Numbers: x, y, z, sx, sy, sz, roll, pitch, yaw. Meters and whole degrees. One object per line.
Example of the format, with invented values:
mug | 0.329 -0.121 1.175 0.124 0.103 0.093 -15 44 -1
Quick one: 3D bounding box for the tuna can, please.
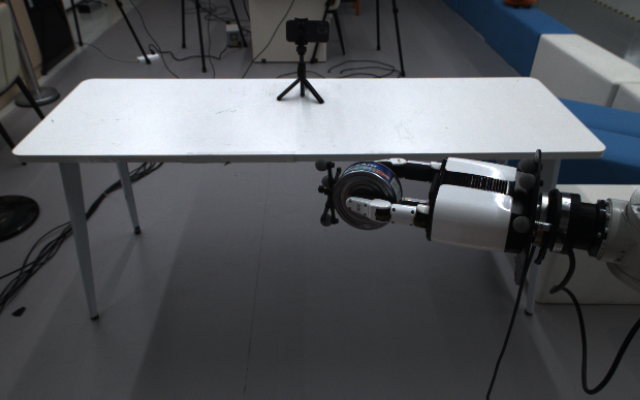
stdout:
tuna can | 0.063 -0.004 0.618 0.085 0.085 0.034 12 27 14
